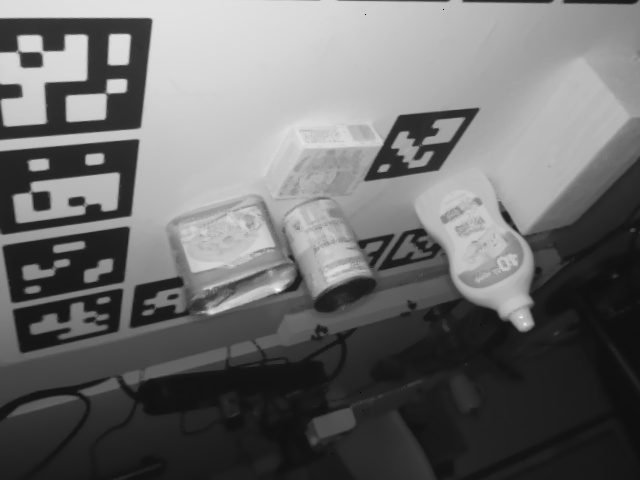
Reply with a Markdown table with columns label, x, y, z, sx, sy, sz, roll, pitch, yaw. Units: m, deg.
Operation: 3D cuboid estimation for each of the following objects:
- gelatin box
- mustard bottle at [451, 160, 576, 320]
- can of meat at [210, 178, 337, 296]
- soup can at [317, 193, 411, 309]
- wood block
| label | x | y | z | sx | sy | sz | roll | pitch | yaw |
| --- | --- | --- | --- | --- | --- | --- | --- | --- | --- |
| gelatin box | 0.040 | -0.088 | 0.631 | 0.091 | 0.030 | 0.072 | -4 | 143 | -37 |
| mustard bottle | 0.228 | 0.004 | 0.776 | 0.096 | 0.191 | 0.058 | -21 | 151 | -4 |
| can of meat | -0.046 | -0.004 | 0.655 | 0.103 | 0.084 | 0.057 | -15 | 148 | -13 |
| soup can | 0.041 | 0.010 | 0.707 | 0.068 | 0.102 | 0.067 | -20 | 149 | -11 |
| wood block | 0.328 | -0.109 | 0.766 | 0.092 | 0.090 | 0.203 | -7 | 150 | -26 |
